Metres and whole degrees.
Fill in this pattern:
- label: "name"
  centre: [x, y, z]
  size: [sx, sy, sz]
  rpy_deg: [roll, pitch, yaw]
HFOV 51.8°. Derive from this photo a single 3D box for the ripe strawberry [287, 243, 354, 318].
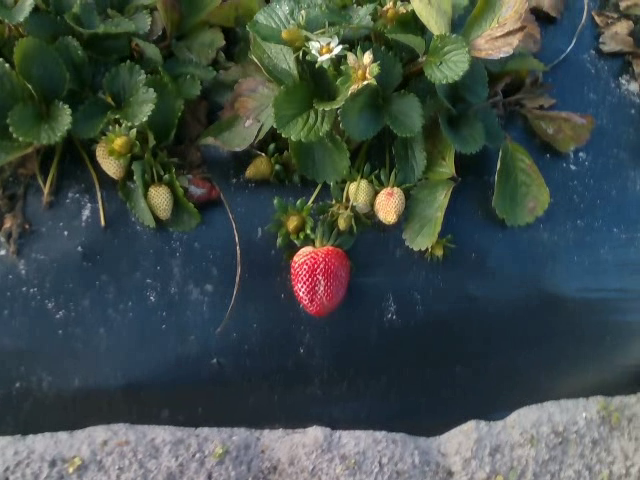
- label: "ripe strawberry"
  centre: [0.000, 0.035, 0.565]
  size: [0.052, 0.068, 0.045]
  rpy_deg: [2, -36, -10]
